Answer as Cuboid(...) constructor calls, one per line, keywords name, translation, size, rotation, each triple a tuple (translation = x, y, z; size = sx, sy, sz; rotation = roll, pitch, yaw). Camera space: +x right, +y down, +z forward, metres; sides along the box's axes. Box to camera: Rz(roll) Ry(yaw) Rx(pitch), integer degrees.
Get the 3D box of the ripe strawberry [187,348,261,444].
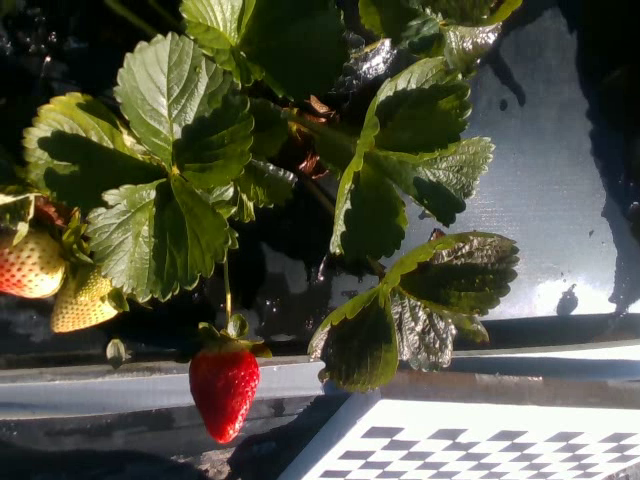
Cuboid(name="ripe strawberry", translation=(-0.044, 0.068, 0.269), size=(0.036, 0.046, 0.038), rotation=(8, -22, -13))
